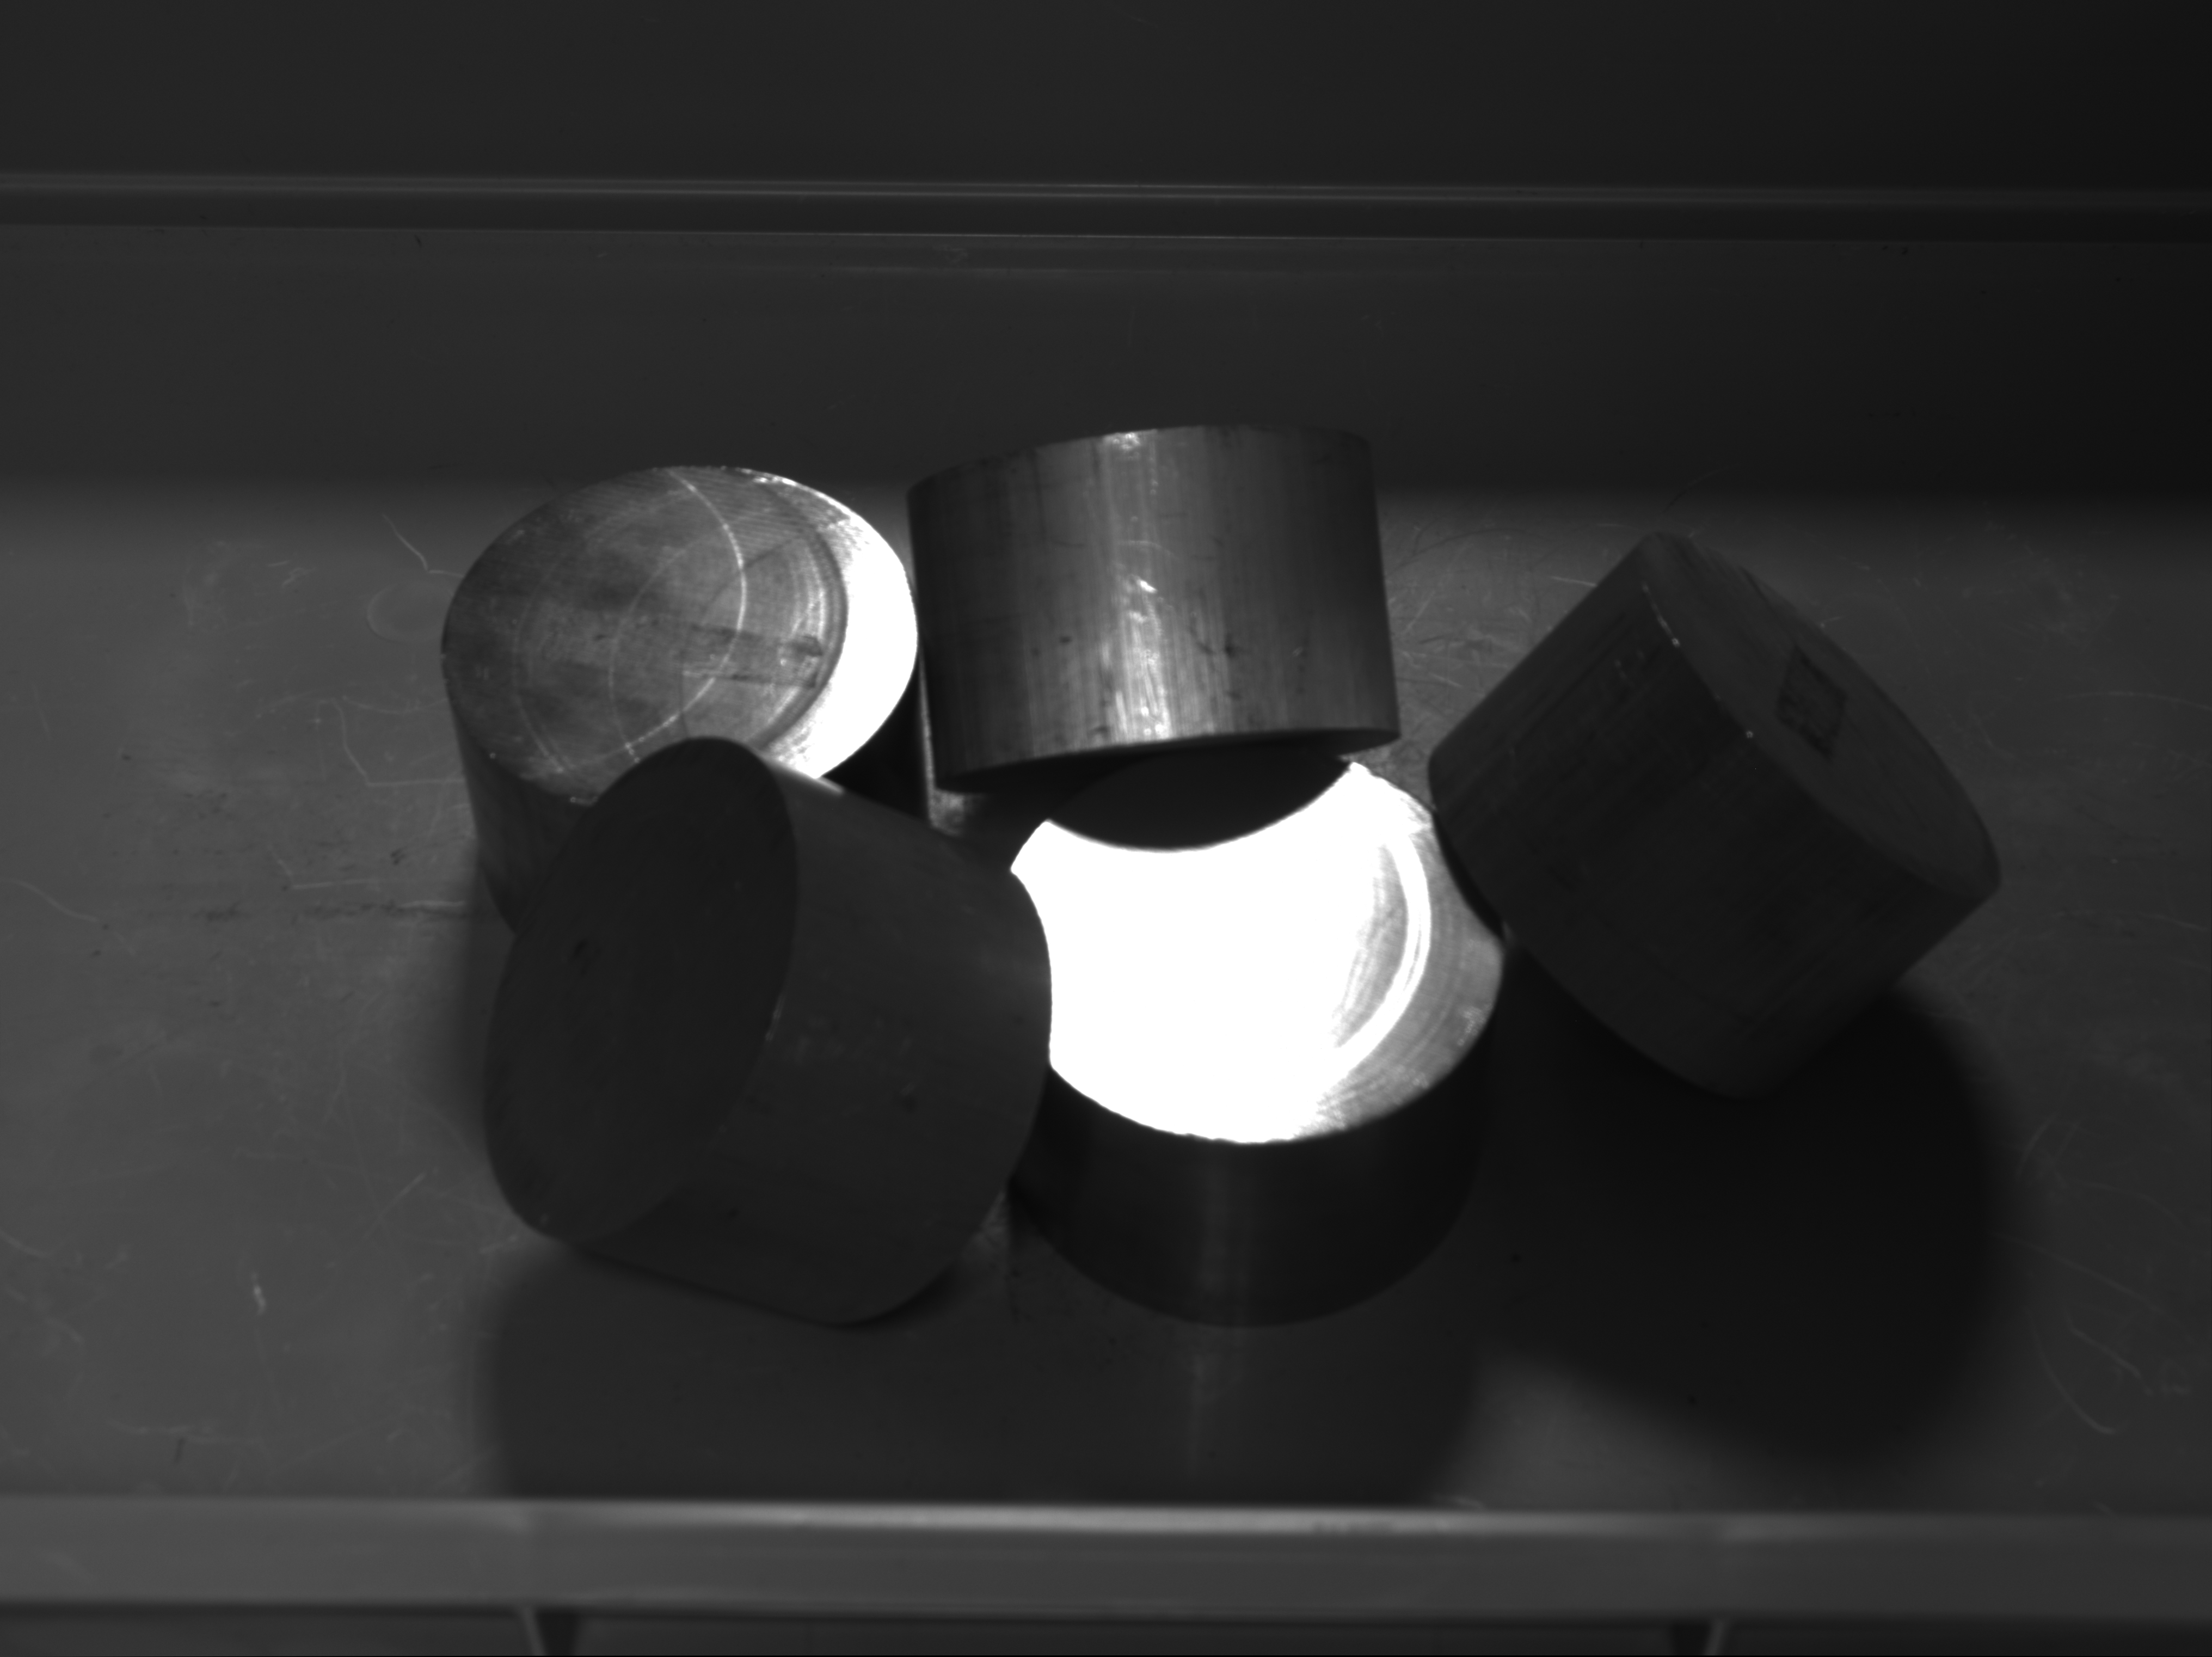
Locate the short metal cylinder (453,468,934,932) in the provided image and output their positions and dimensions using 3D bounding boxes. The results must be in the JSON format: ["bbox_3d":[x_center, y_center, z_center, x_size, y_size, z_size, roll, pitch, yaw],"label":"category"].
[{"bbox_3d":[-0.070,-0.017,0.637,0.080,0.050,0.080,0,50,0],"label":"short metal cylinder"}]

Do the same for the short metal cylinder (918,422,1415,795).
[{"bbox_3d":[0.010,-0.036,0.625,0.080,0.080,0.050,-6,86,-5],"label":"short metal cylinder"}]

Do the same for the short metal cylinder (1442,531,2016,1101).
[{"bbox_3d":[0.102,-0.002,0.600,0.080,0.050,0.080,34,26,-19],"label":"short metal cylinder"}]

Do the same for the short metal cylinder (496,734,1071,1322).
[{"bbox_3d":[-0.051,0.031,0.569,0.050,0.080,0.080,24,37,-37],"label":"short metal cylinder"}]

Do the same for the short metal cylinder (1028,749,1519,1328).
[{"bbox_3d":[0.025,0.034,0.596,0.080,0.050,0.080,0,50,0],"label":"short metal cylinder"}]
